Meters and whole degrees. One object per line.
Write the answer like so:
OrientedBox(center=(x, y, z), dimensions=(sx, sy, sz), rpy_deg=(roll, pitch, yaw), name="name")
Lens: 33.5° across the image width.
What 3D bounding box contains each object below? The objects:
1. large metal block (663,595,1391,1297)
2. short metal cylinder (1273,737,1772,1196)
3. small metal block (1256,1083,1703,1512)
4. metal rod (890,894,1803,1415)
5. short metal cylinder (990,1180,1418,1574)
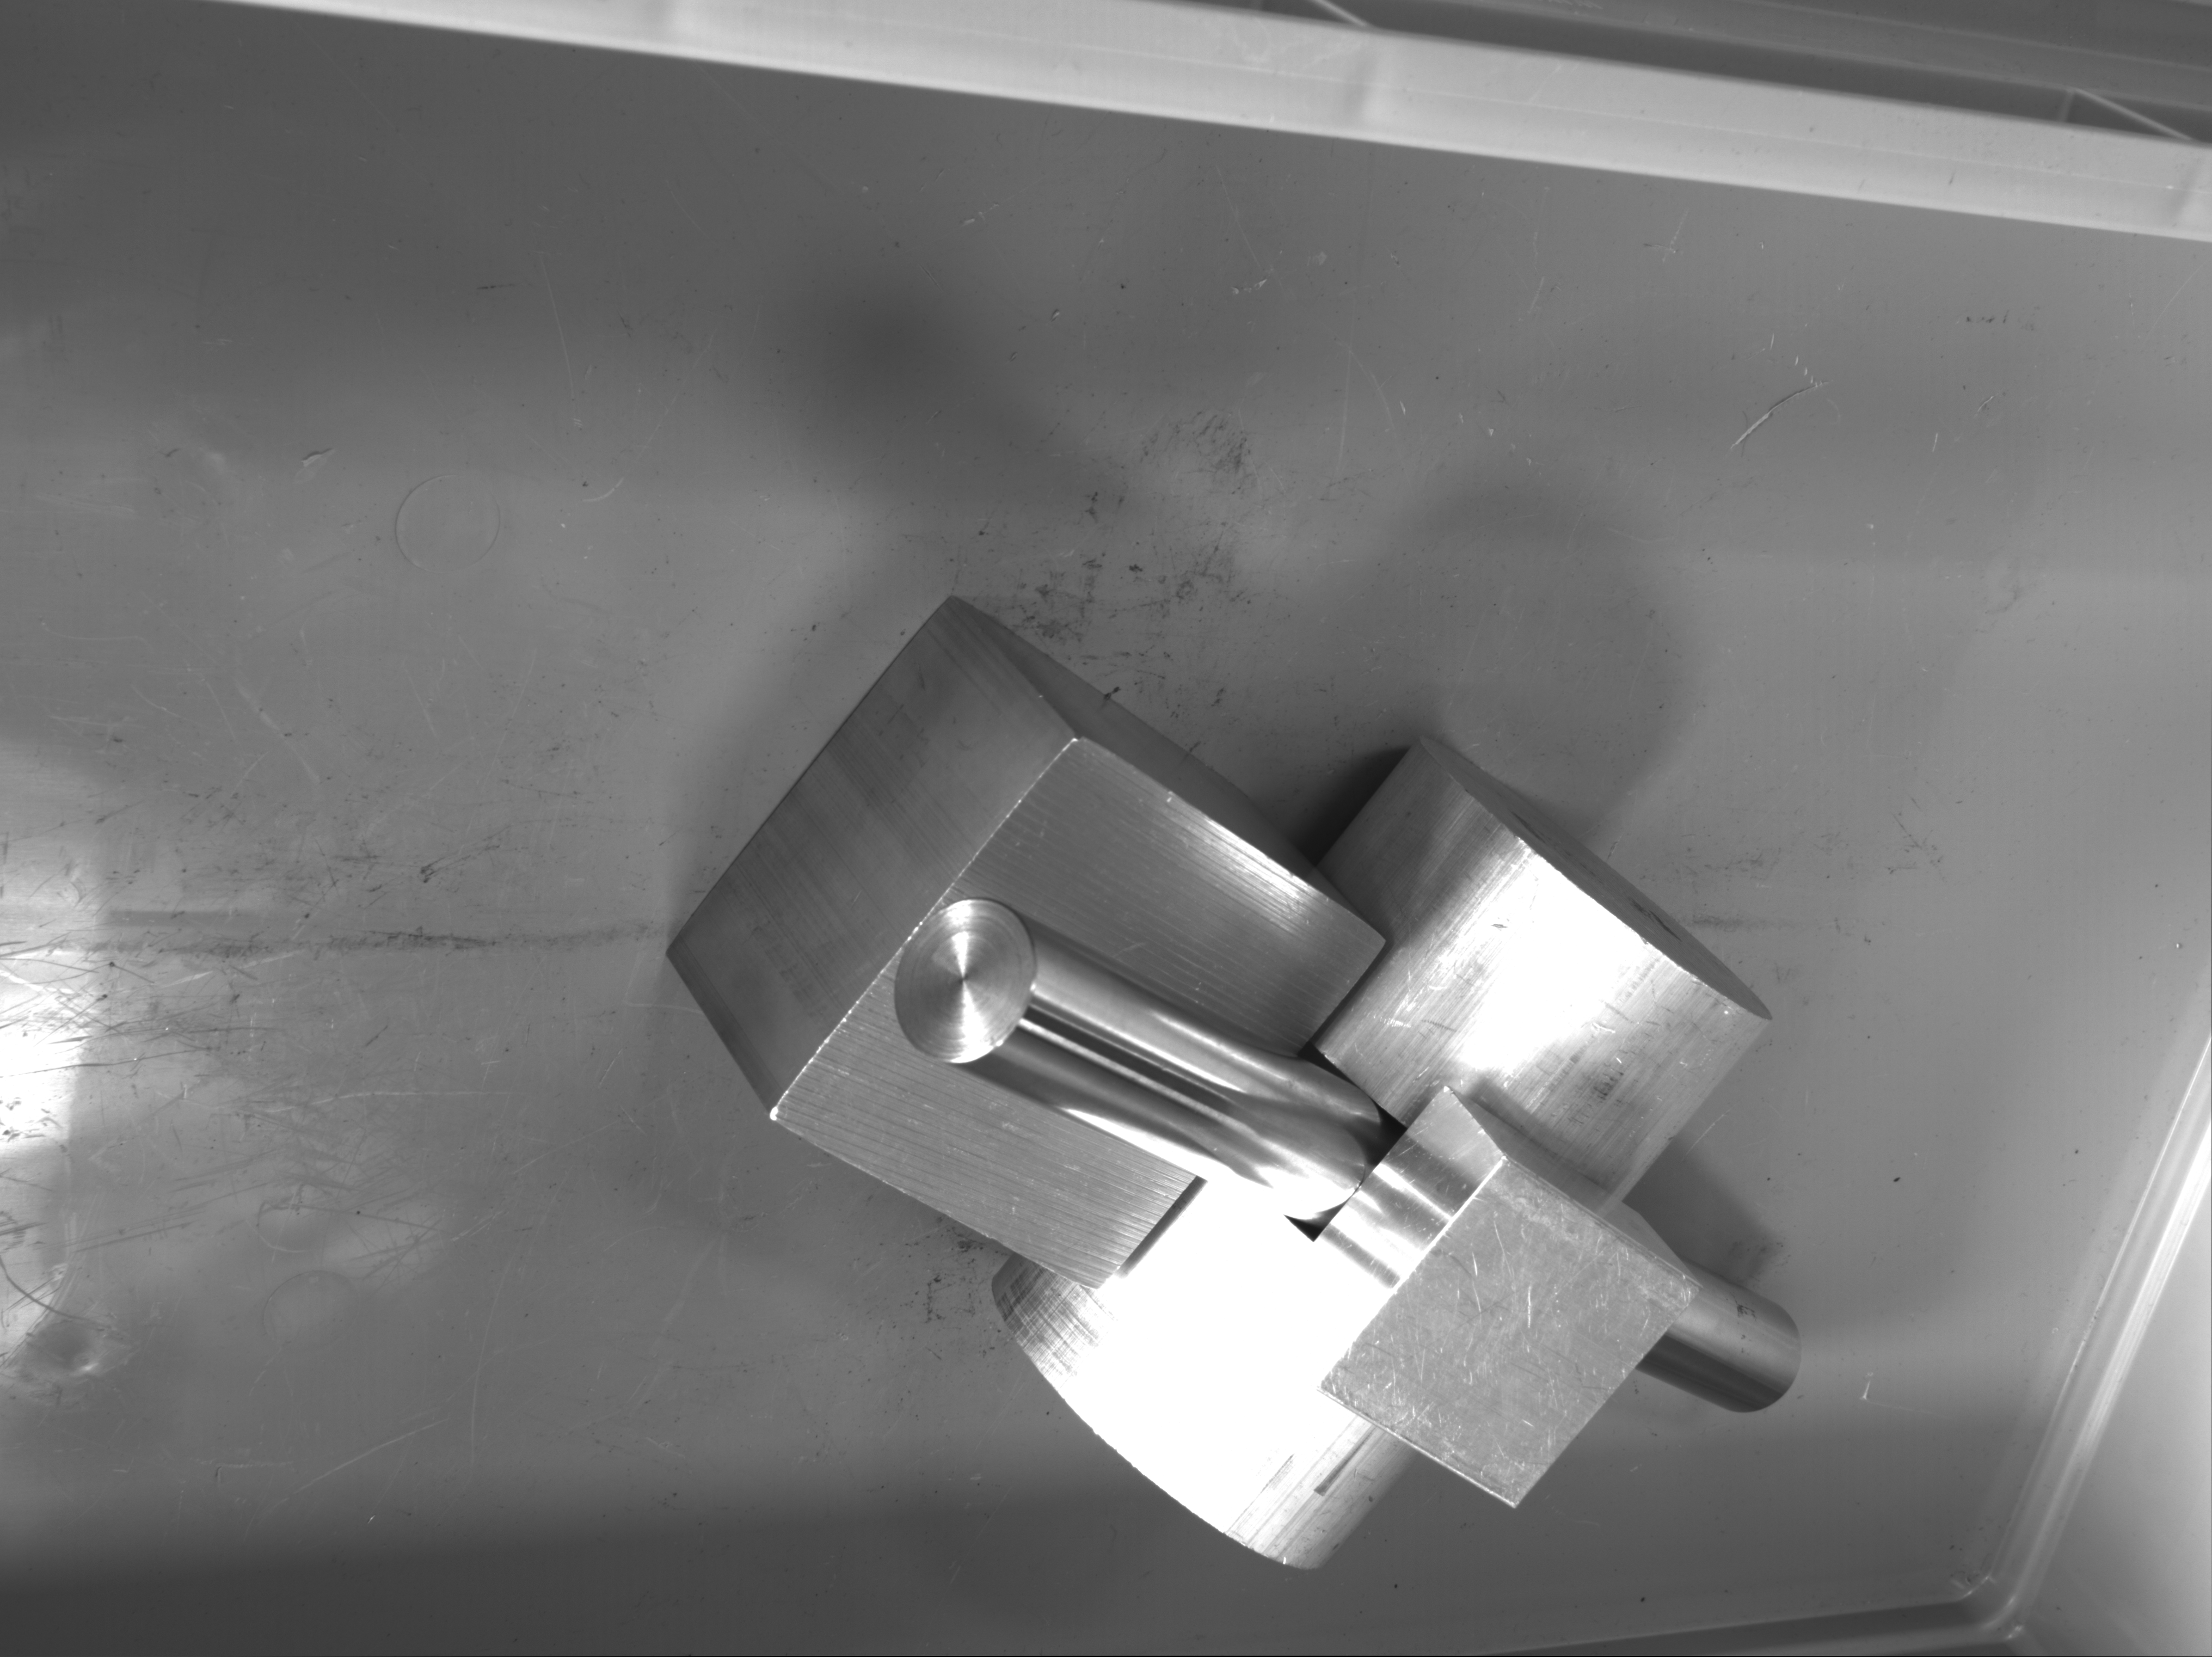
OrientedBox(center=(-0.013, 0.021, 0.623), dimensions=(0.080, 0.050, 0.080), rpy_deg=(33, 100, -38), name="large metal block")
OrientedBox(center=(0.072, 0.028, 0.657), dimensions=(0.080, 0.080, 0.050), rpy_deg=(31, 101, -38), name="short metal cylinder")
OrientedBox(center=(0.063, 0.079, 0.617), dimensions=(0.050, 0.025, 0.050), rpy_deg=(34, 99, -30), name="small metal block")
OrientedBox(center=(0.057, 0.067, 0.657), dimensions=(0.025, 0.025, 0.301), rpy_deg=(-50, 144, 7), name="metal rod")
OrientedBox(center=(0.026, 0.089, 0.668), dimensions=(0.080, 0.080, 0.050), rpy_deg=(34, 99, -38), name="short metal cylinder")
